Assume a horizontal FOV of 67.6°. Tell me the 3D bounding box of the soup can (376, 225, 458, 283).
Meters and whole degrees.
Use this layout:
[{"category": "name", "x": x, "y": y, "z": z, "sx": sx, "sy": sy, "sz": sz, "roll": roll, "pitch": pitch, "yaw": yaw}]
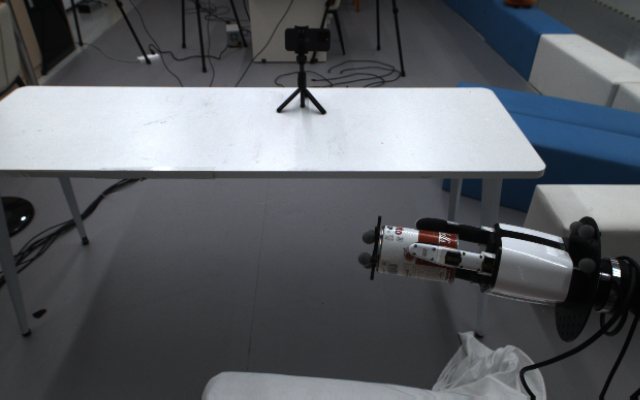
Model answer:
[{"category": "soup can", "x": 0.134, "y": 0.071, "z": 0.656, "sx": 0.101, "sy": 0.067, "sz": 0.067, "roll": 6, "pitch": 35, "yaw": 10}]
